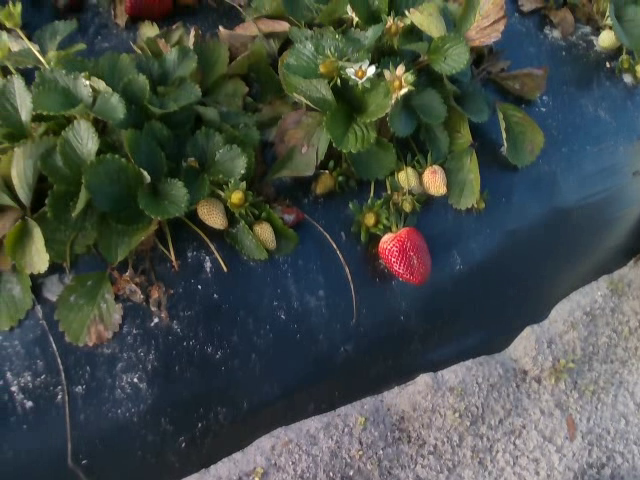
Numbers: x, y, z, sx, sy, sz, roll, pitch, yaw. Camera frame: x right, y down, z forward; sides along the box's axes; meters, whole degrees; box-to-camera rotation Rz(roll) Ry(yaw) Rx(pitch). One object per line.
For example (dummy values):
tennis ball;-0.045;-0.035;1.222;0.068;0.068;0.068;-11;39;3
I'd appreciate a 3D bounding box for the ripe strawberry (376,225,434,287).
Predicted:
ripe strawberry;0.094;0.017;0.734;0.052;0.068;0.045;-18;-32;-22
